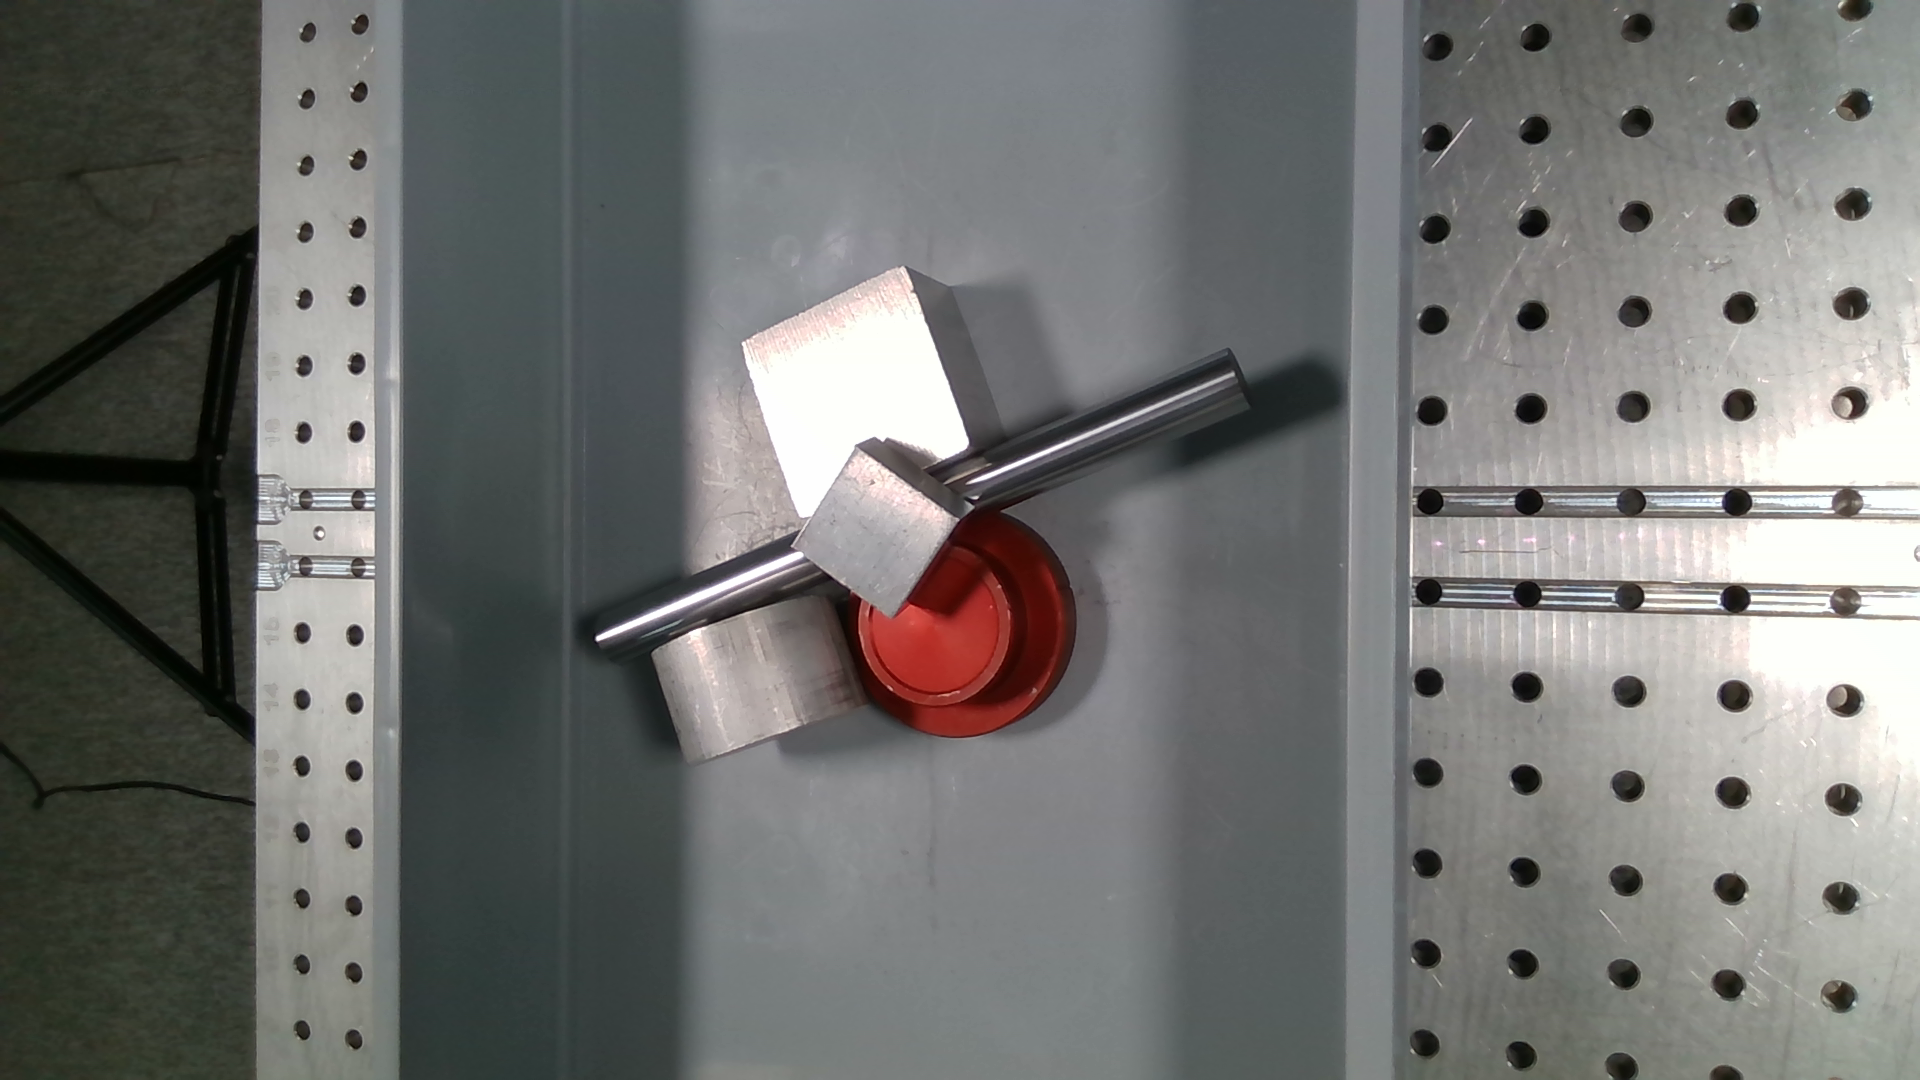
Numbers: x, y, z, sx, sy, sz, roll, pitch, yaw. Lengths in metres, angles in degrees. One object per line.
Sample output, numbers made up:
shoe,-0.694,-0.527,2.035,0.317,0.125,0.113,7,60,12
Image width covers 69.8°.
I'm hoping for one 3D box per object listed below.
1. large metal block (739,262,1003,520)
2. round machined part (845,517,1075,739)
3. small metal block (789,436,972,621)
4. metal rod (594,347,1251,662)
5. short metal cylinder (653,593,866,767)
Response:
large metal block,-0.035,-0.060,0.581,0.080,0.050,0.080,-22,83,19
round machined part,-0.004,0.034,0.576,0.098,0.042,0.098,0,91,20
small metal block,-0.031,-0.005,0.544,0.050,0.025,0.050,36,109,5
metal rod,-0.025,-0.009,0.571,0.300,0.025,0.025,-22,83,19
short metal cylinder,-0.085,0.060,0.587,0.080,0.080,0.050,-22,83,19
